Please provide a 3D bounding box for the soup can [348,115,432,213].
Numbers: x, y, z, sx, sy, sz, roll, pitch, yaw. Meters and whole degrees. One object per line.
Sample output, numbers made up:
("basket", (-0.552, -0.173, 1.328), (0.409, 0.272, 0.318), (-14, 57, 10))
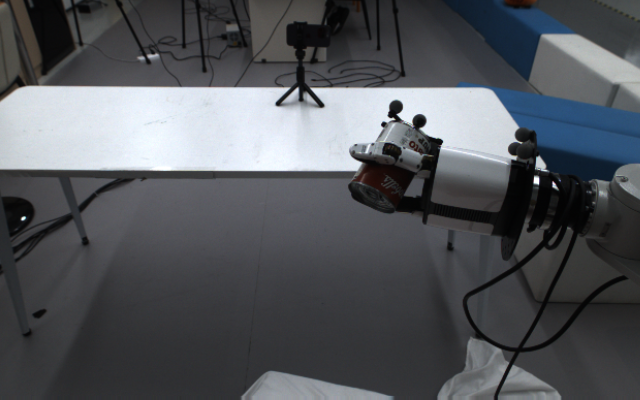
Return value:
("soup can", (0.092, -0.043, 0.619), (0.067, 0.067, 0.101), (23, 73, 28))
